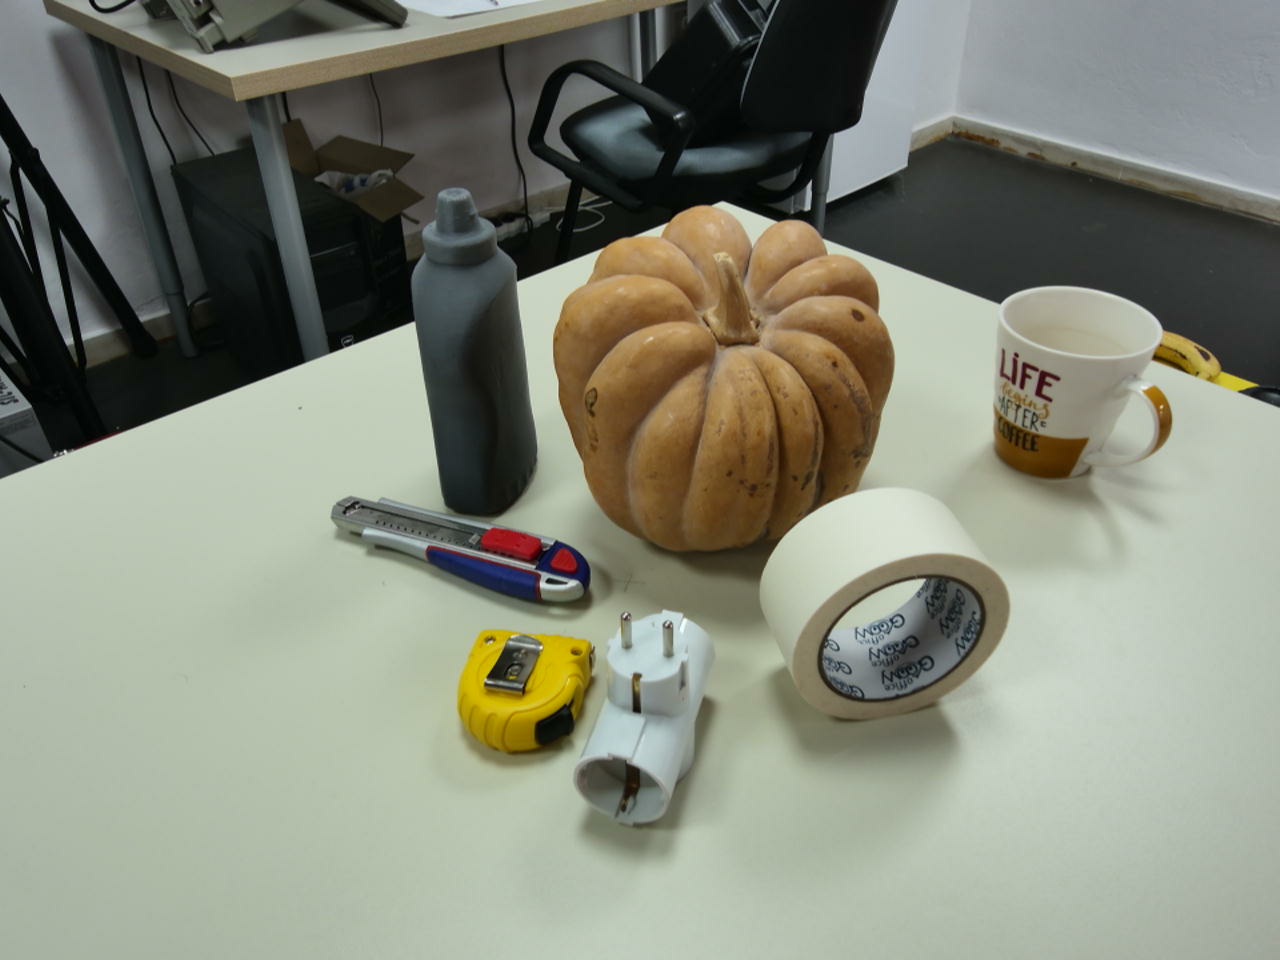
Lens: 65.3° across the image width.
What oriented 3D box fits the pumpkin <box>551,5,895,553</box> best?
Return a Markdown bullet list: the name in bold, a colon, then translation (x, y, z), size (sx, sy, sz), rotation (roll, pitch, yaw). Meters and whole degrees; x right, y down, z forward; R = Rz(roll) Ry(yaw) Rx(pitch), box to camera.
- **pumpkin**: translation (0.046, -0.053, 0.577), size (0.199, 0.177, 0.198), rotation (-1, 36, 0)
